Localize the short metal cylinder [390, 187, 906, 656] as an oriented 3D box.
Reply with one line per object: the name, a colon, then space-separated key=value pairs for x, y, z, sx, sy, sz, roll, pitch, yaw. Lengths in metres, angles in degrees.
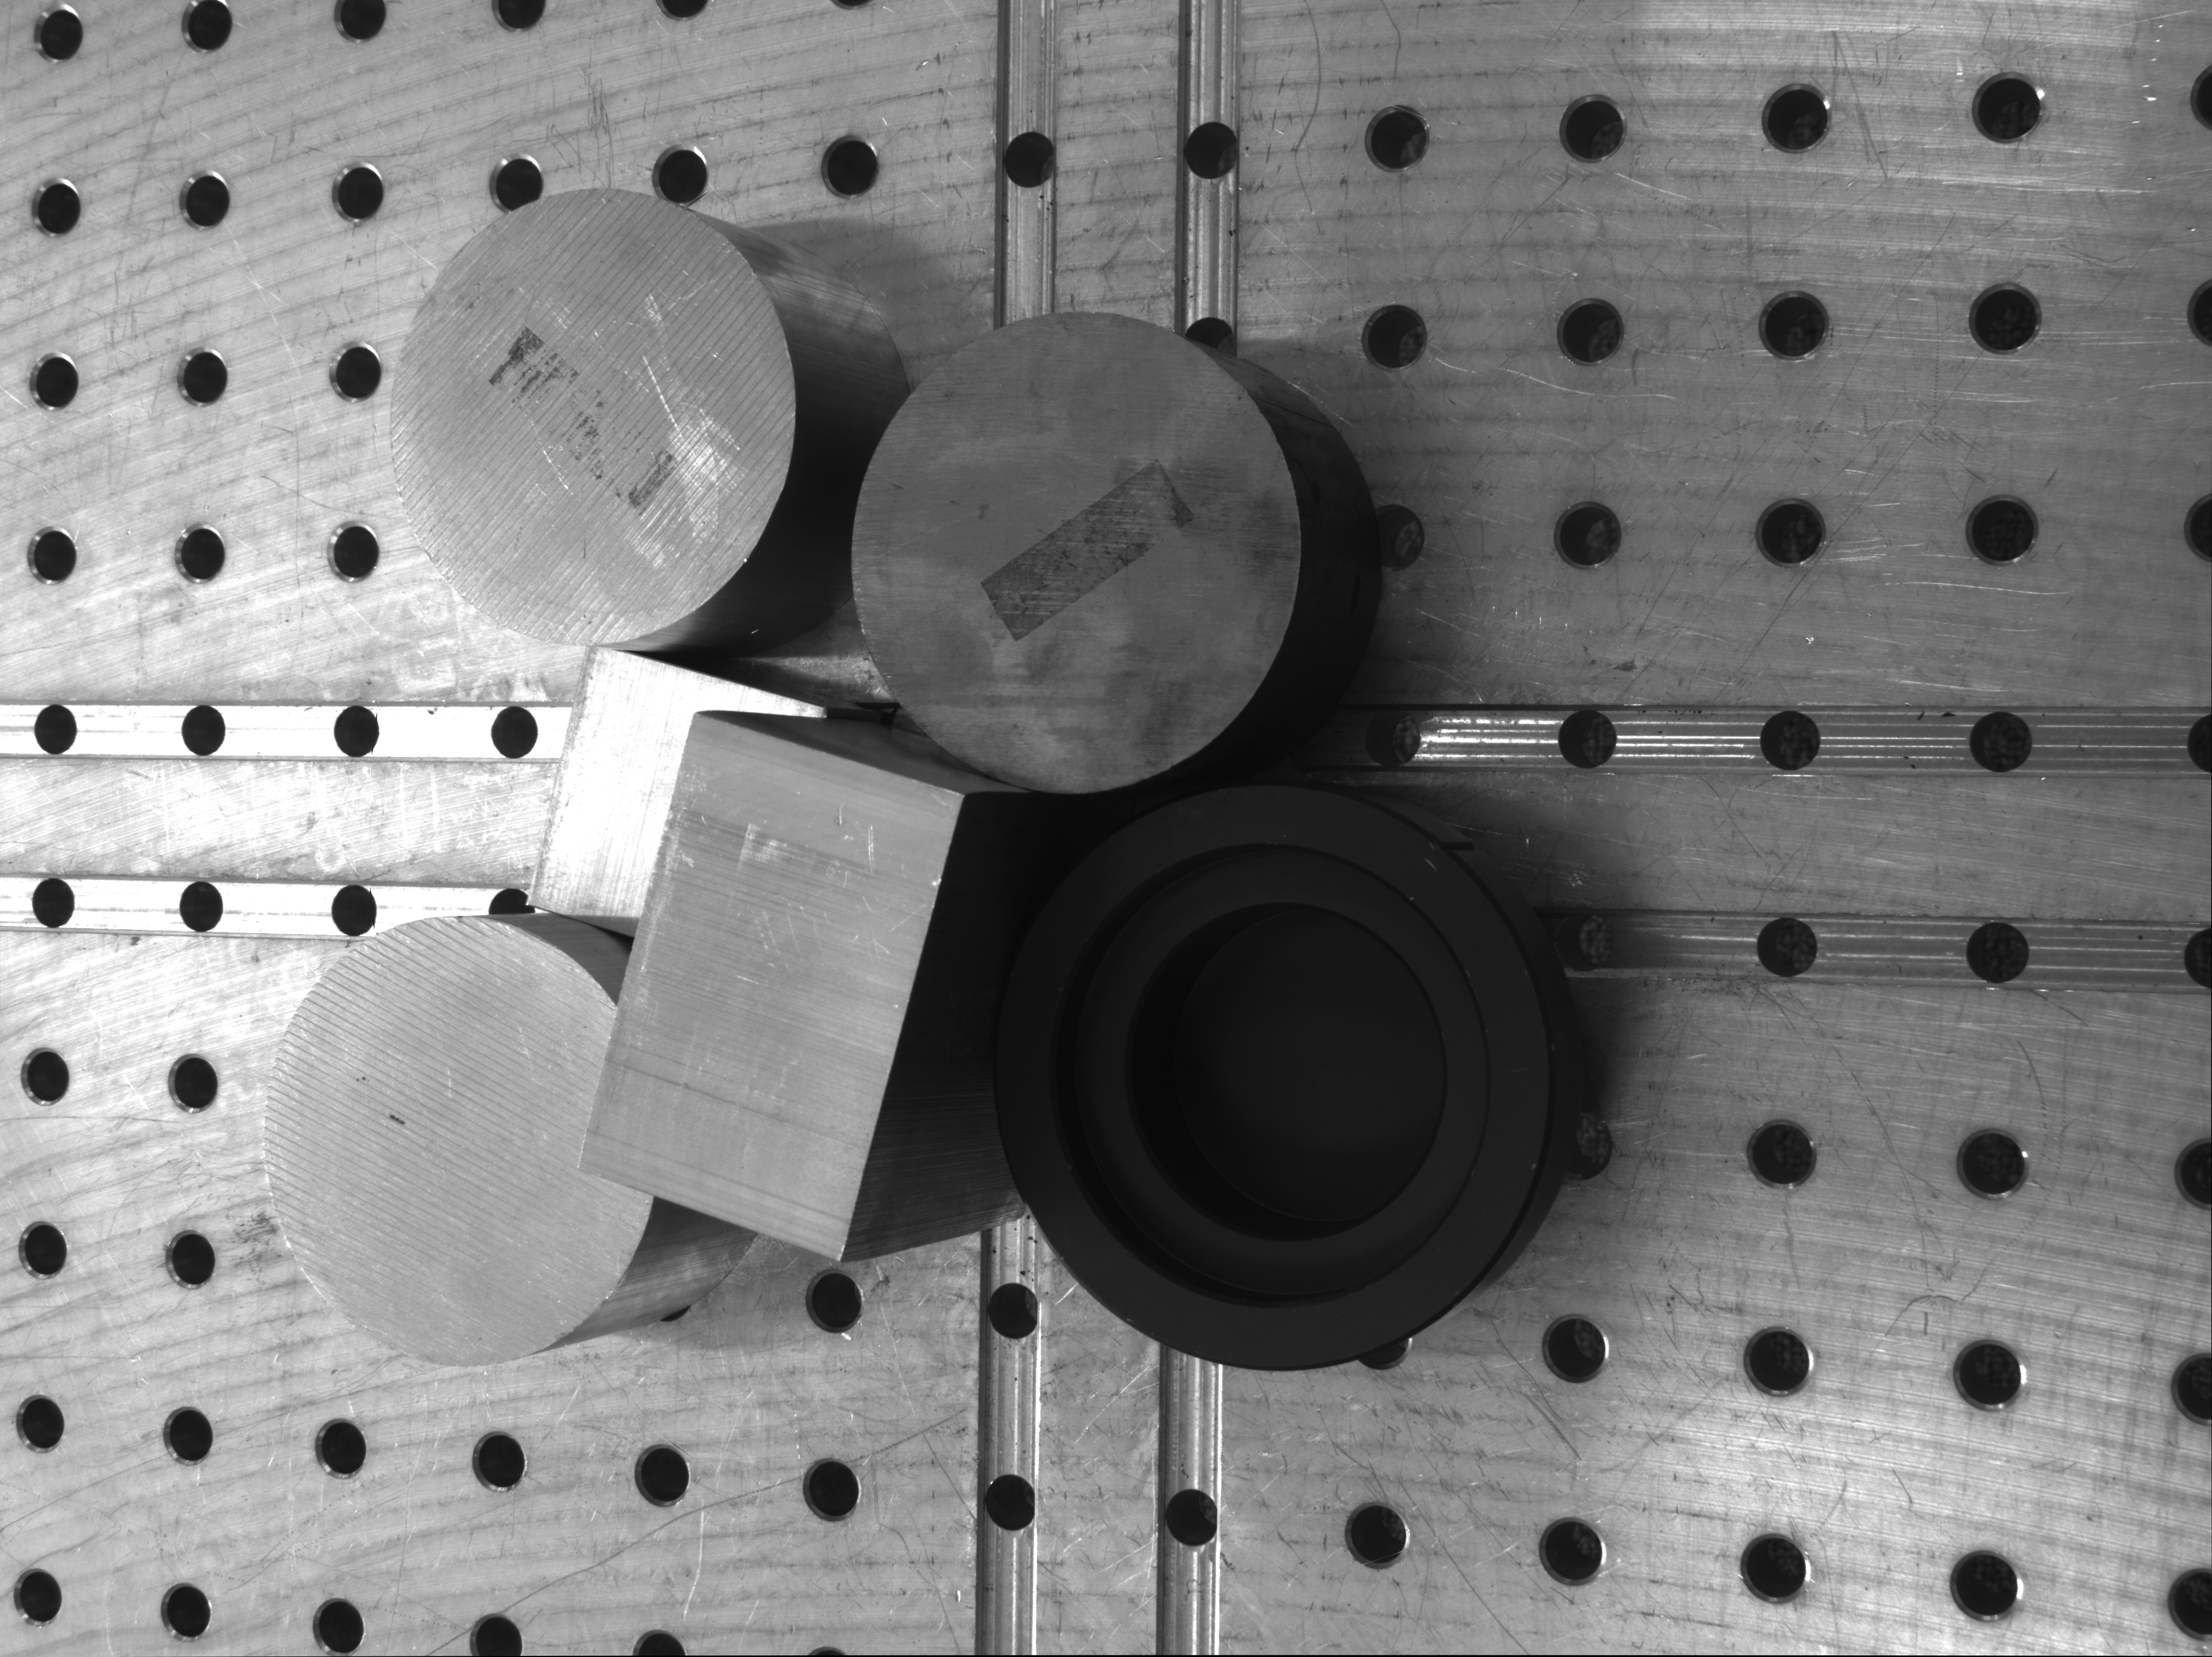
short metal cylinder: x=-0.082 y=-0.072 z=0.665 sx=0.080 sy=0.050 sz=0.080 roll=0 pitch=90 yaw=20

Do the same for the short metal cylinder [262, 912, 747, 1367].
short metal cylinder: x=-0.107 y=0.055 z=0.674 sx=0.080 sy=0.050 sz=0.080 roll=0 pitch=90 yaw=20

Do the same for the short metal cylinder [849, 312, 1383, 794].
short metal cylinder: x=0.002 y=-0.046 z=0.634 sx=0.080 sy=0.050 sz=0.080 roll=0 pitch=90 yaw=20

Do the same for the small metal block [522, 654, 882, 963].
small metal block: x=-0.074 y=-0.004 z=0.675 sx=0.050 sy=0.025 sz=0.050 roll=16 pitch=95 yaw=19

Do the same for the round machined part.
round machined part: x=0.034 y=0.041 z=0.627 sx=0.098 sy=0.042 sz=0.098 roll=0 pitch=90 yaw=20

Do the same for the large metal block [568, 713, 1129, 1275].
large metal block: x=-0.042 y=0.027 z=0.631 sx=0.050 sy=0.080 sz=0.080 roll=17 pitch=96 yaw=19
